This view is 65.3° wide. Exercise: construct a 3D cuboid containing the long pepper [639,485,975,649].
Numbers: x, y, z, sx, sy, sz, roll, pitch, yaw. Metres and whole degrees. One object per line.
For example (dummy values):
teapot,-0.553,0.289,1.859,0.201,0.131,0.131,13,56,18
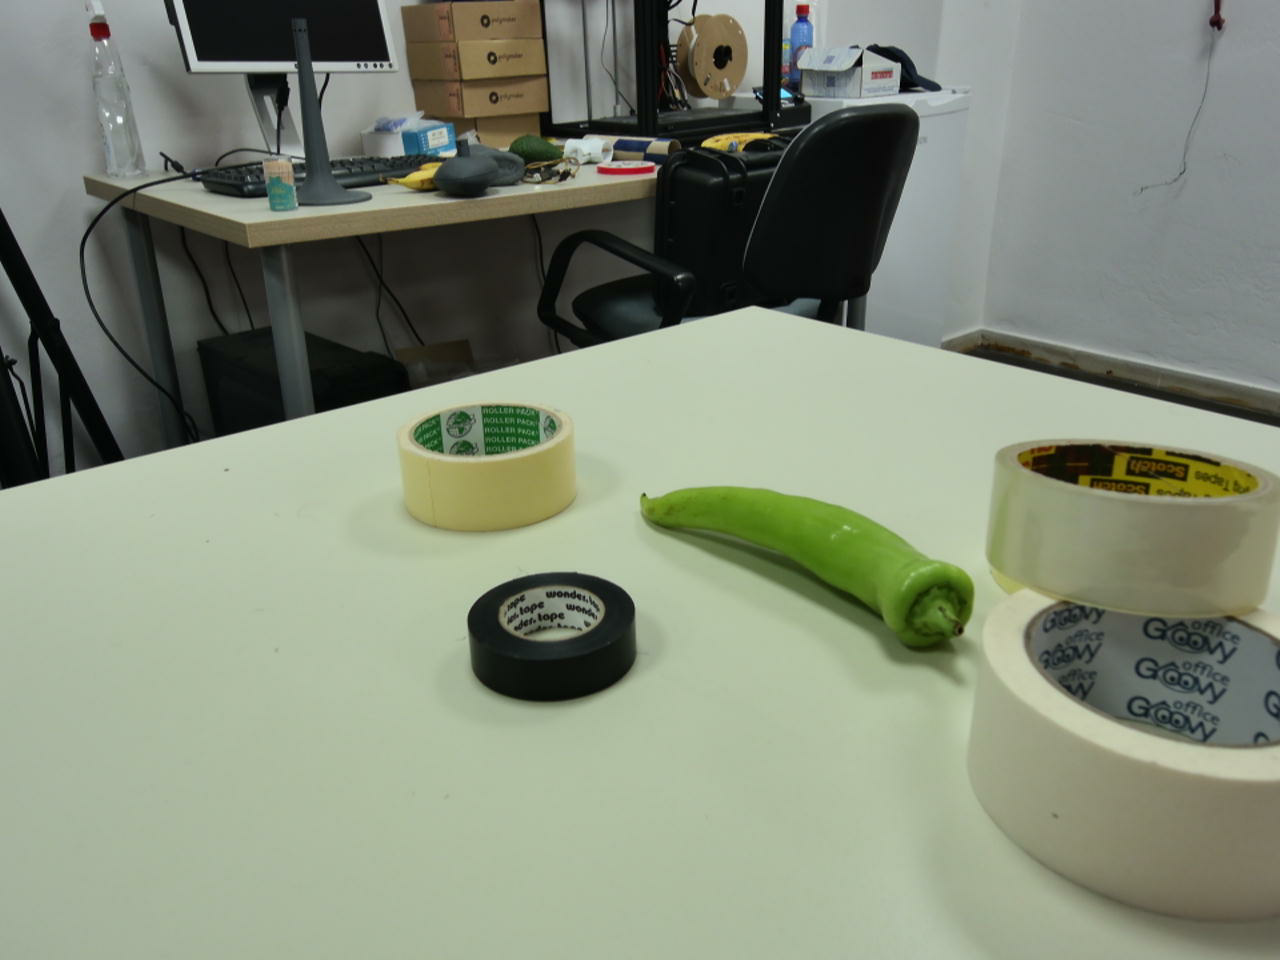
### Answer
long pepper,0.070,0.025,0.448,0.046,0.038,0.197,-15,26,-34
